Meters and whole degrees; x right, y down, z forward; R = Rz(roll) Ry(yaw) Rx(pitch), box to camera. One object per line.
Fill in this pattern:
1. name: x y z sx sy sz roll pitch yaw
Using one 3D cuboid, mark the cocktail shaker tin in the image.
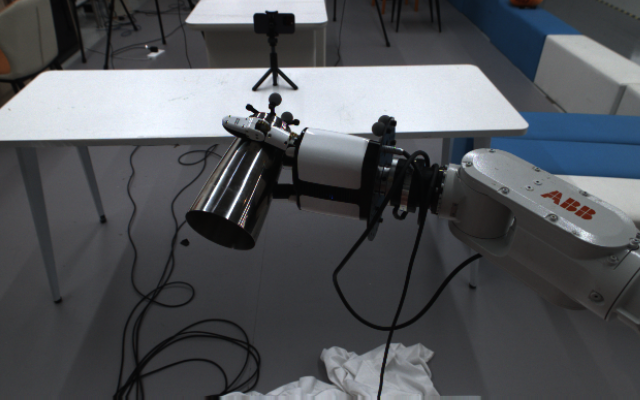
1. cocktail shaker tin: -0.096 -0.034 0.632 0.093 0.093 0.170 13 59 16
